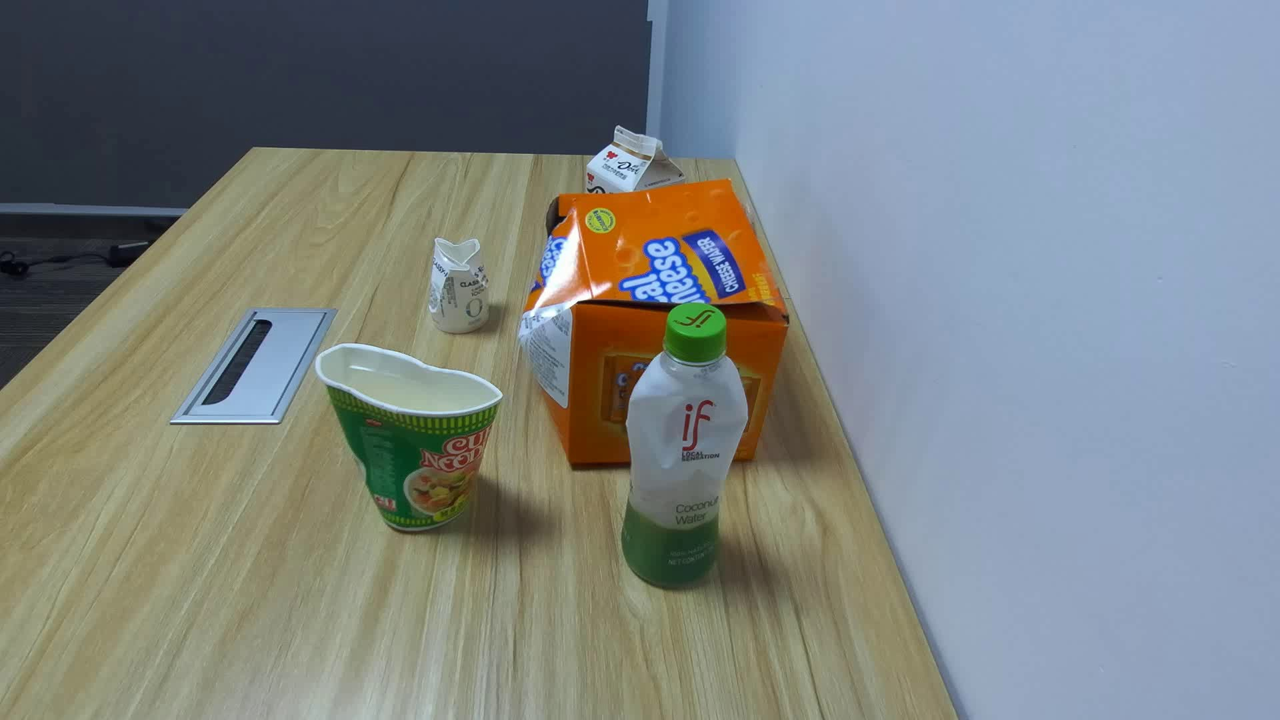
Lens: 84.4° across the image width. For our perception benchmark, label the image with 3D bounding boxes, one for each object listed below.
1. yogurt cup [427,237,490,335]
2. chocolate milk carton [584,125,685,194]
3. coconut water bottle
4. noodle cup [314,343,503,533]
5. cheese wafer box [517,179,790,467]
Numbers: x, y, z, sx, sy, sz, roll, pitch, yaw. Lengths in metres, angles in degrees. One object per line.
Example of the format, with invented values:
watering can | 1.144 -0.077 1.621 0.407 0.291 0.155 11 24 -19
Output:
yogurt cup | -0.168 -0.069 0.653 0.055 0.072 0.055 5 38 0
chocolate milk carton | -0.005 -0.161 0.718 0.074 0.148 0.075 -26 47 -32
coconut water bottle | 0.024 0.052 0.410 0.067 0.187 0.067 2 38 -1
noodle cup | -0.149 0.050 0.467 0.114 0.111 0.070 29 46 30
cheese wafer box | -0.001 -0.042 0.571 0.191 0.145 0.218 -2 37 -7
